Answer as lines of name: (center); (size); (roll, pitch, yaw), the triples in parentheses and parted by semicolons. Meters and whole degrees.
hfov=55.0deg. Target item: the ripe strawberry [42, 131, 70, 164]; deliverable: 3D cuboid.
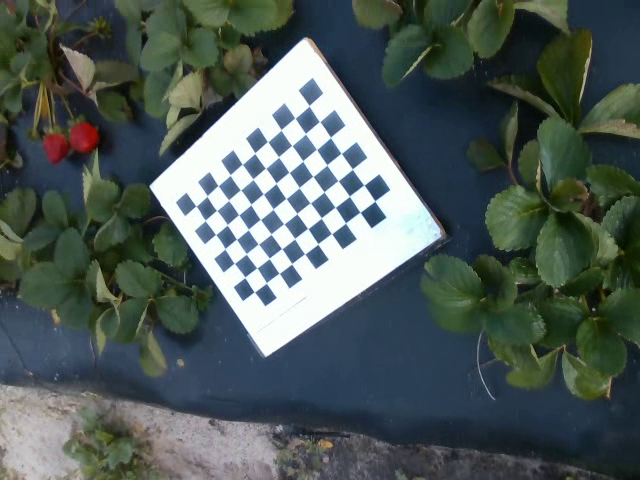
ripe strawberry: (-0.441, -0.148, 1.022); (0.048, 0.056, 0.041); (-21, -24, 23)

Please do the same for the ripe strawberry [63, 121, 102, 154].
ripe strawberry: (-0.387, -0.160, 0.992); (0.051, 0.058, 0.064); (17, 23, -41)
